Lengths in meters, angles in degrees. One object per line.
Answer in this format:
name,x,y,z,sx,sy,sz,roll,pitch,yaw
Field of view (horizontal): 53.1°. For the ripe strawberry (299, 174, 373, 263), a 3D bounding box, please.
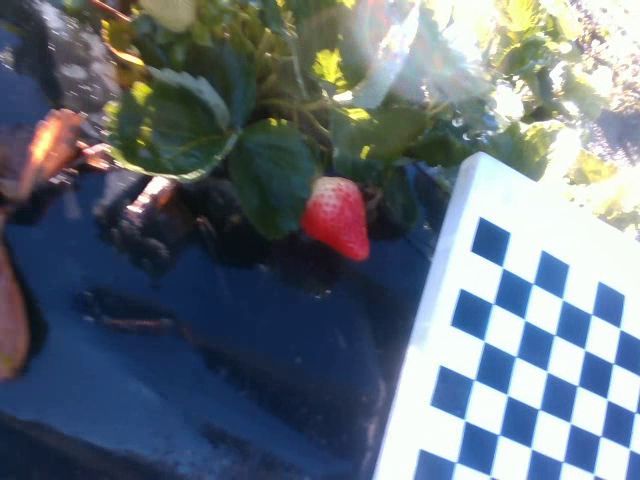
ripe strawberry,0.011,-0.011,0.403,0.040,0.065,0.040,-25,-2,-29
